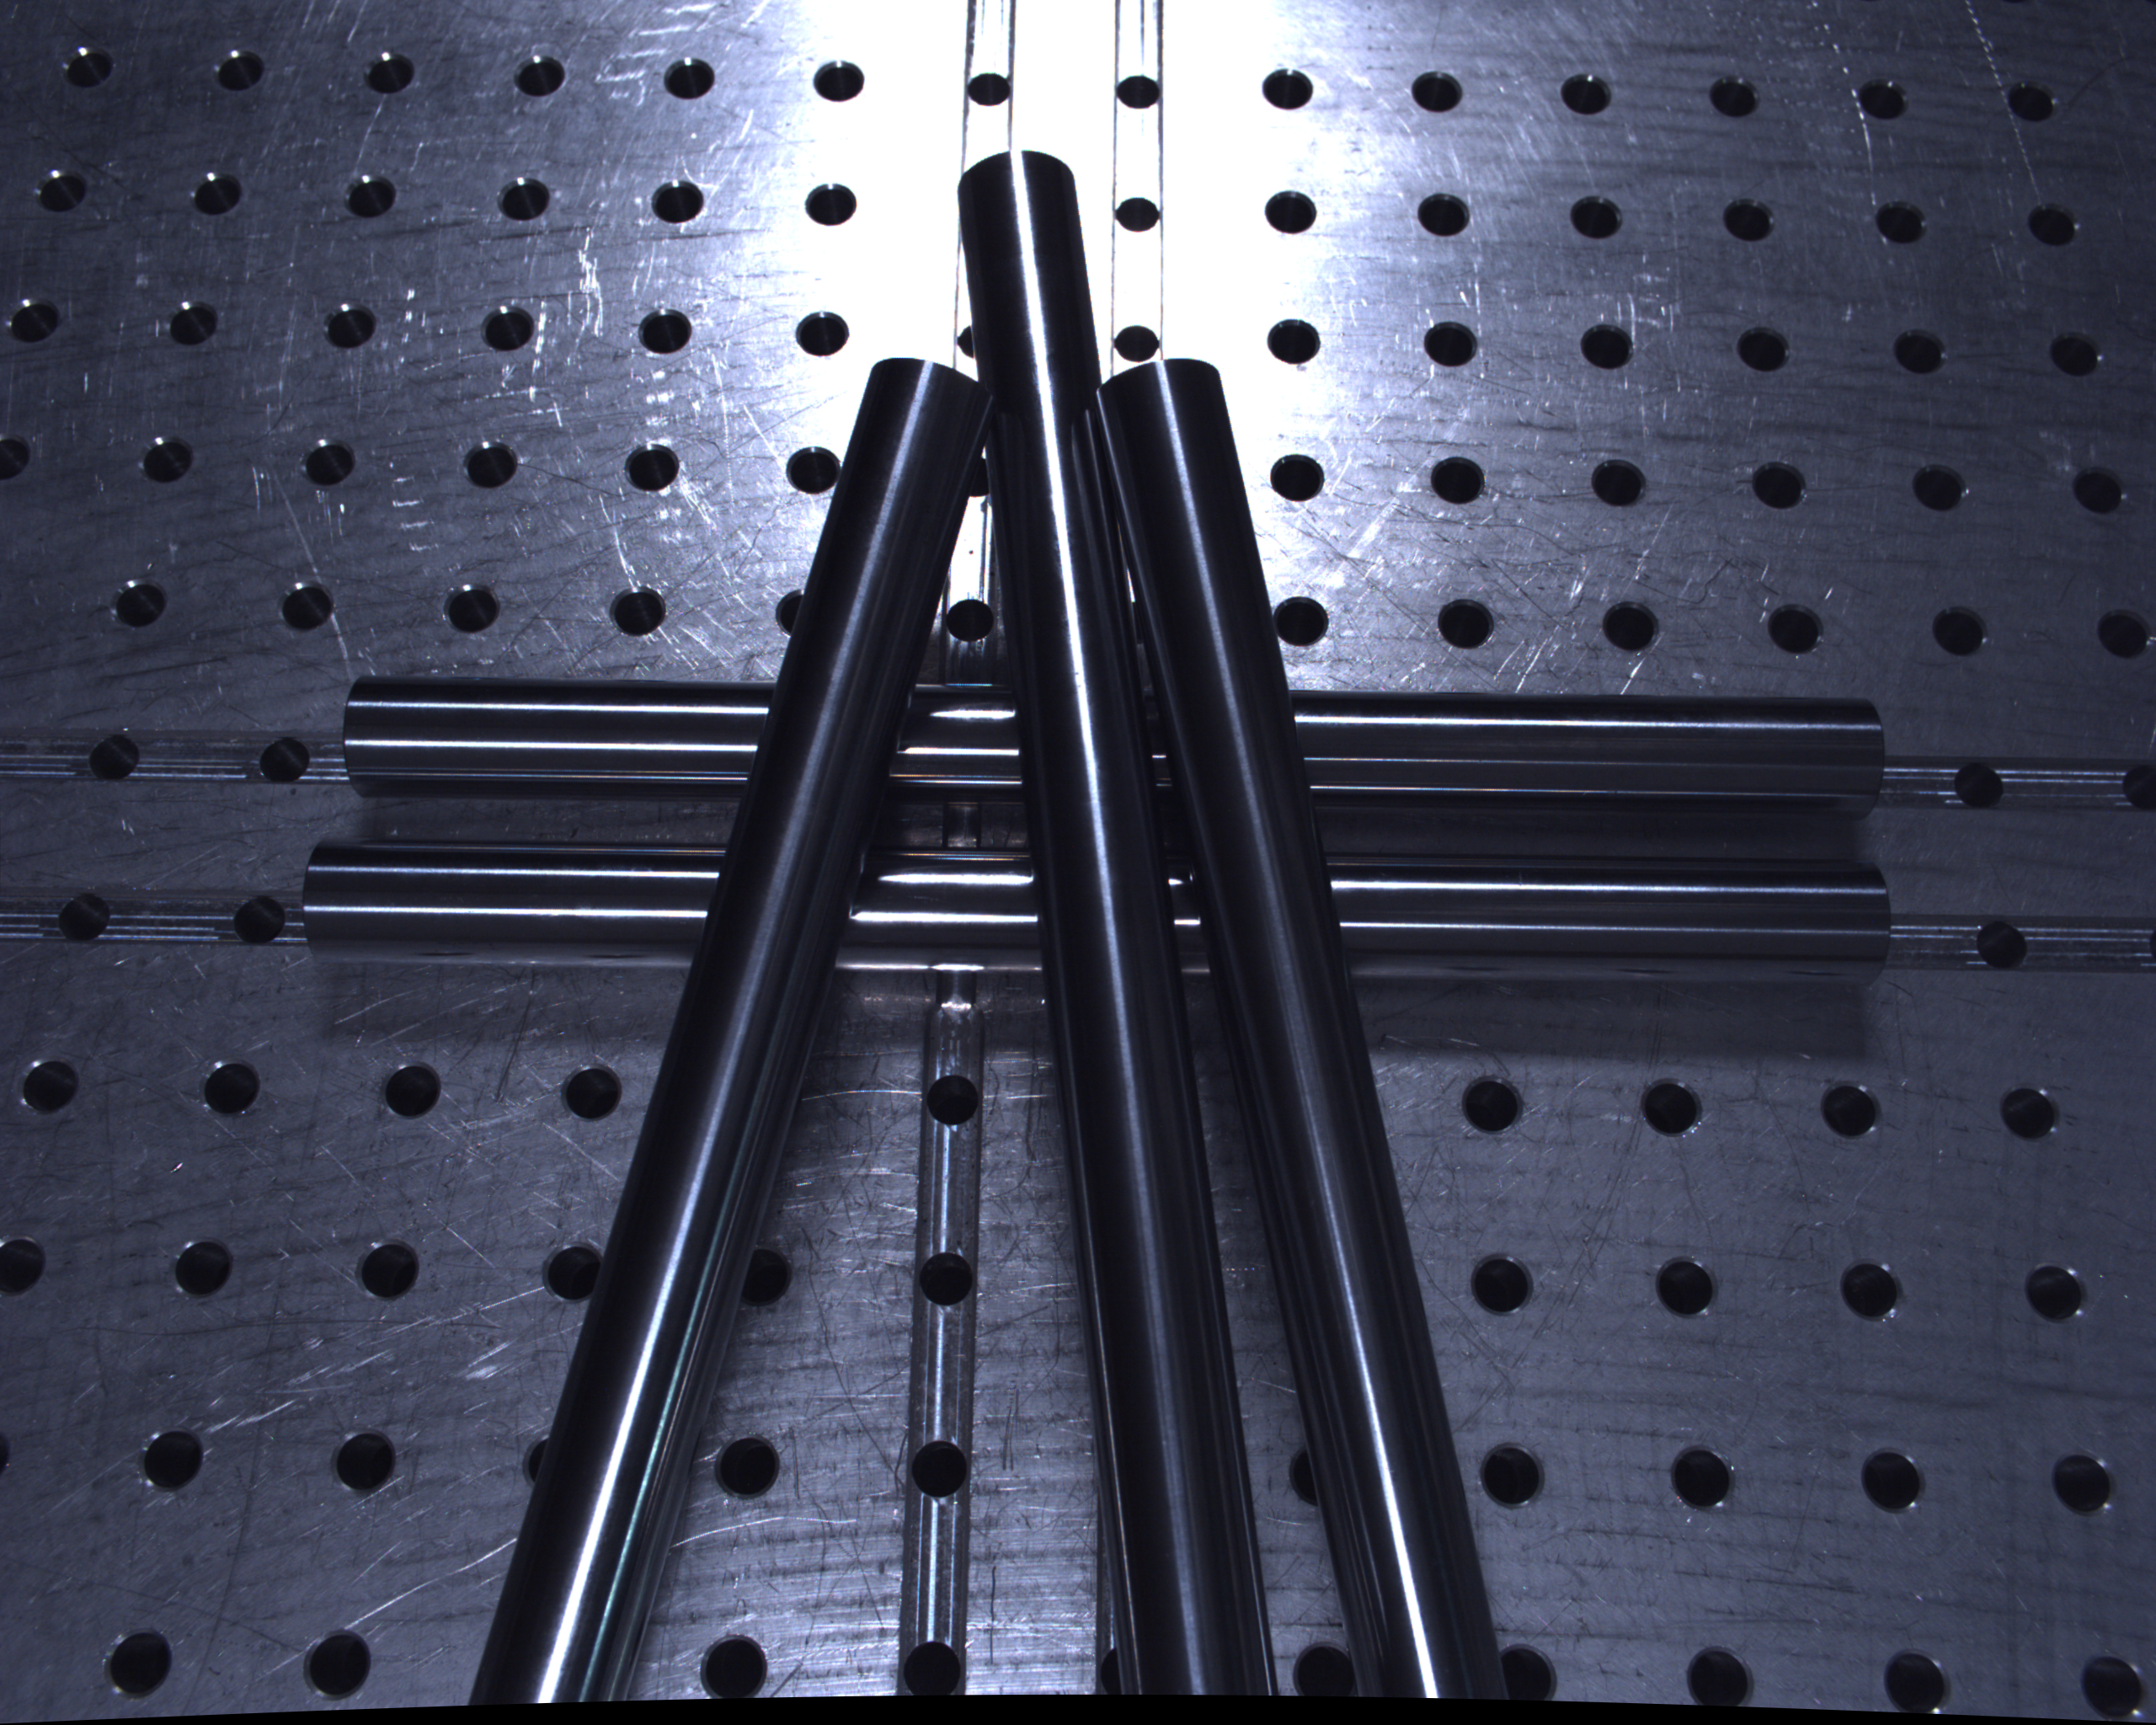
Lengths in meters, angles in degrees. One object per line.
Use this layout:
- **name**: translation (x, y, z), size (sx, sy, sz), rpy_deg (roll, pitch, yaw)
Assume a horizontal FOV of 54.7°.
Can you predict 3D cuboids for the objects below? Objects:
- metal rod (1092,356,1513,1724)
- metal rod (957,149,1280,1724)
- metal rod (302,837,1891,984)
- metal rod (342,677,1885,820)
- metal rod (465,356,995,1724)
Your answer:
- **metal rod**: translation (0.042, 0.050, 0.374), size (0.025, 0.025, 0.299), rpy_deg (-10, 77, -4)
- **metal rod**: translation (0.004, -0.001, 0.386), size (0.025, 0.025, 0.299), rpy_deg (-6, 70, -3)
- **metal rod**: translation (0.004, 0.009, 0.409), size (0.302, 0.025, 0.025), rpy_deg (1, 70, 0)
- **metal rod**: translation (0.007, -0.023, 0.420), size (0.302, 0.025, 0.025), rpy_deg (1, 70, 0)
- **metal rod**: translation (-0.065, 0.049, 0.374), size (0.025, 0.025, 0.299), rpy_deg (14, 77, 4)
